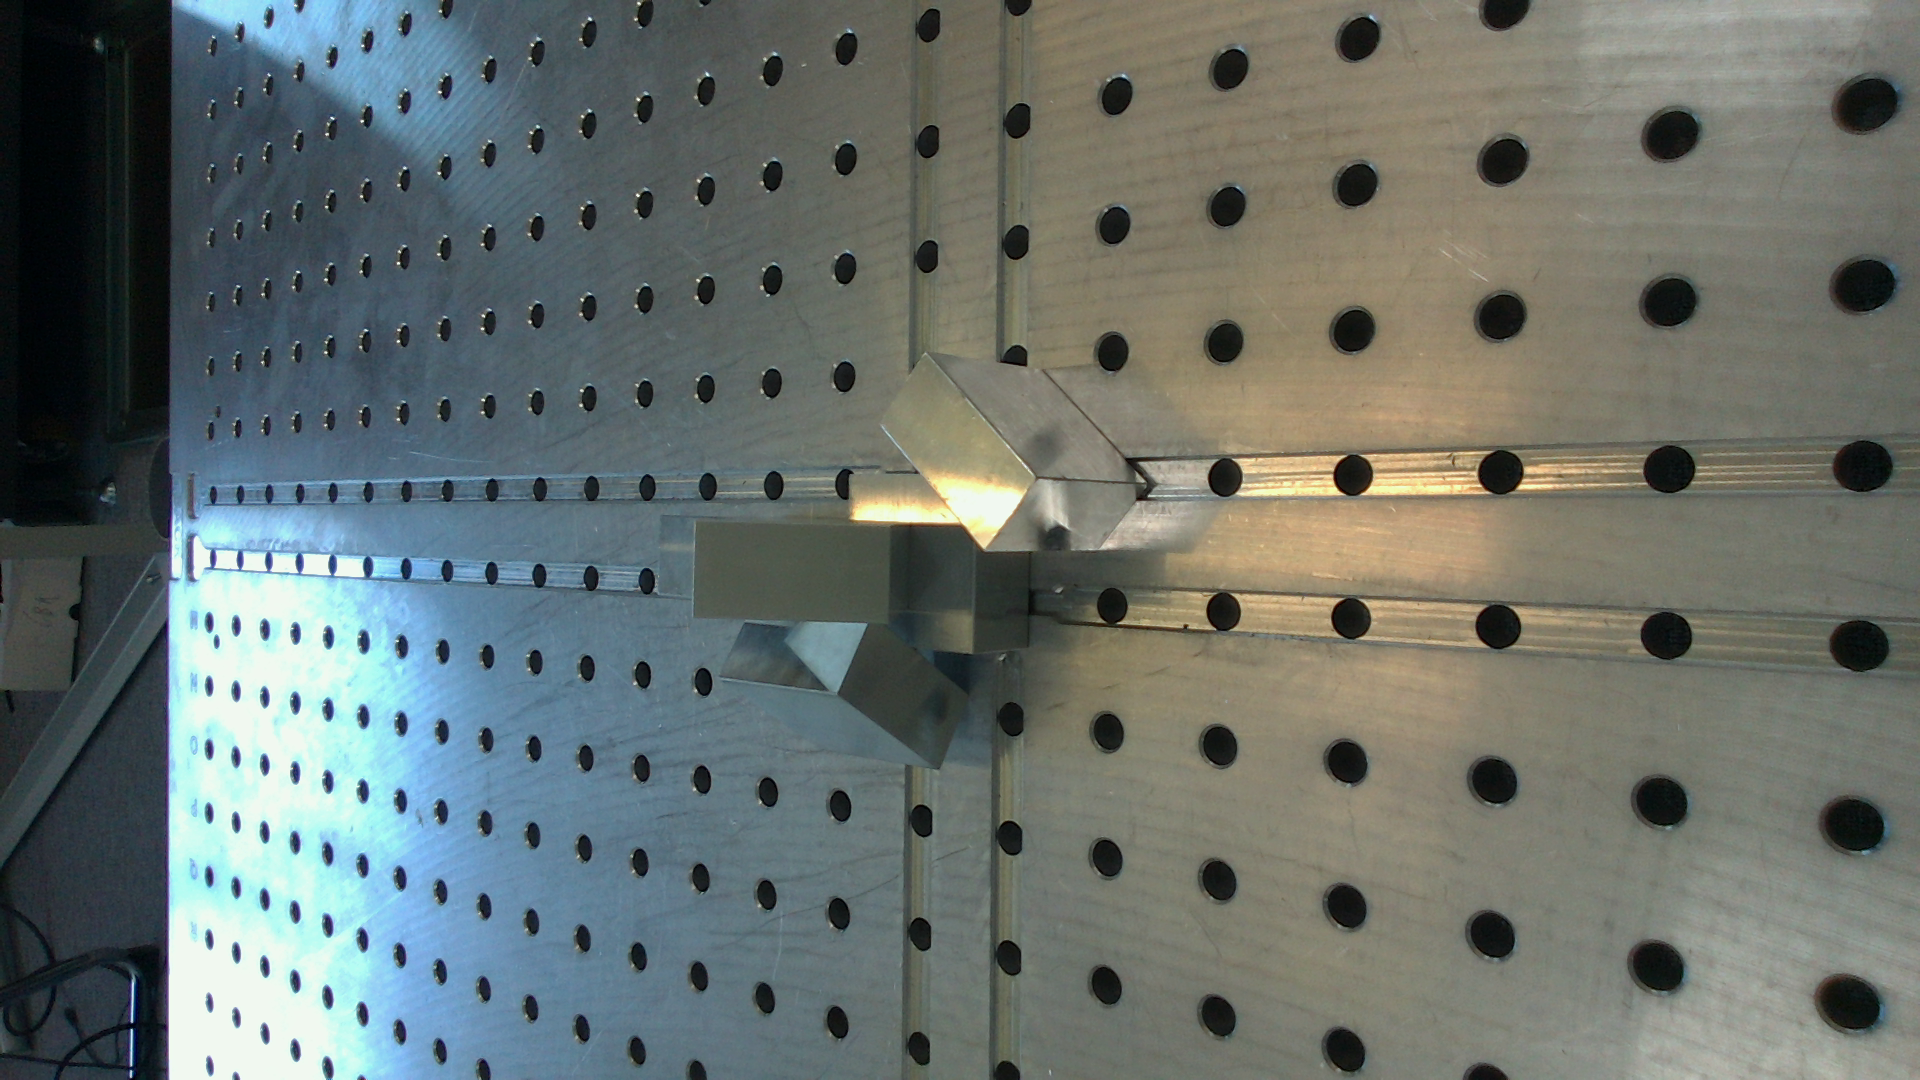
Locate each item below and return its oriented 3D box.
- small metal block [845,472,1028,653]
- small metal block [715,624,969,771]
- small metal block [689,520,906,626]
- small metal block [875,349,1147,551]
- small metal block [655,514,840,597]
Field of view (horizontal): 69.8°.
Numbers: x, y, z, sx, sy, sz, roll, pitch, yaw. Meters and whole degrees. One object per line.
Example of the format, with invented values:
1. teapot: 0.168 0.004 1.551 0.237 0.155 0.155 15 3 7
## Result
1. small metal block: -0.007 0.006 0.404 0.050 0.025 0.050 2 91 39
2. small metal block: -0.034 0.043 0.407 0.050 0.050 0.025 2 59 40
3. small metal block: -0.042 0.008 0.371 0.050 0.050 0.025 2 92 3
4. small metal block: 0.014 -0.023 0.370 0.050 0.050 0.025 51 119 28
5. small metal block: -0.060 0.005 0.431 0.050 0.050 0.025 2 92 41
